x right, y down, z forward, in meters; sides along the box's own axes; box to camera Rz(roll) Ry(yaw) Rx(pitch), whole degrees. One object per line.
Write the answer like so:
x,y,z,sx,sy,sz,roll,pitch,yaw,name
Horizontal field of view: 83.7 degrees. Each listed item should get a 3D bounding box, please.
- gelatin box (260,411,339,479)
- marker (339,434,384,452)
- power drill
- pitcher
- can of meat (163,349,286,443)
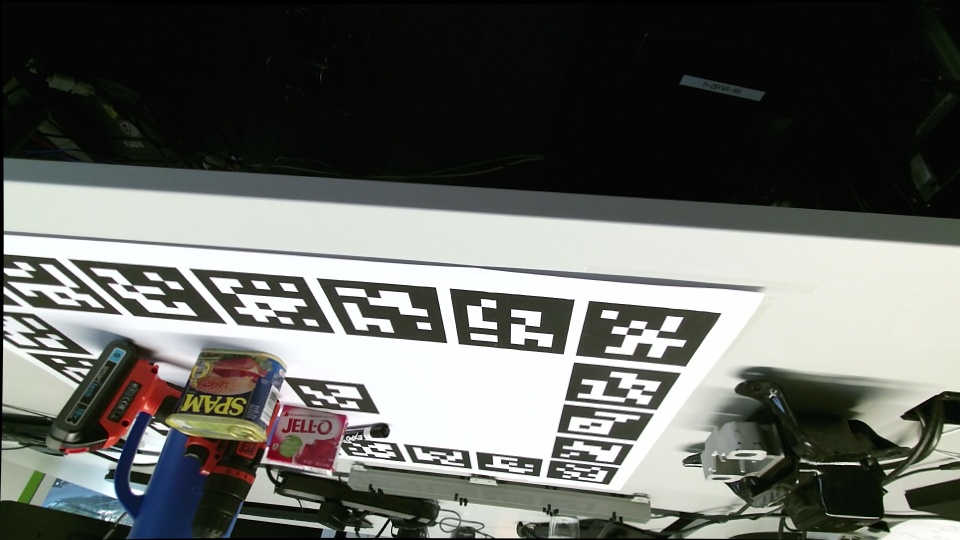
-0.244,0.234,0.722,0.090,0.073,0.030,12,138,-3,gelatin box
-0.186,0.253,0.776,0.121,0.019,0.020,-14,136,24,marker
-0.348,0.209,0.619,0.187,0.184,0.057,31,134,-19,power drill
-0.396,0.287,0.690,0.189,0.241,0.133,20,138,-26,pitcher
-0.276,0.138,0.591,0.102,0.083,0.058,4,144,6,can of meat
